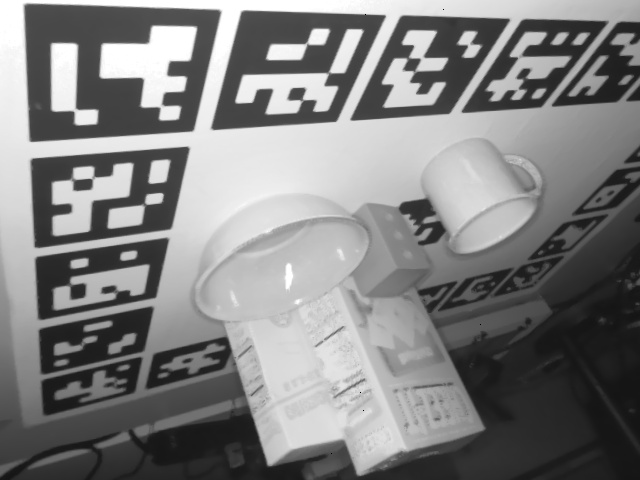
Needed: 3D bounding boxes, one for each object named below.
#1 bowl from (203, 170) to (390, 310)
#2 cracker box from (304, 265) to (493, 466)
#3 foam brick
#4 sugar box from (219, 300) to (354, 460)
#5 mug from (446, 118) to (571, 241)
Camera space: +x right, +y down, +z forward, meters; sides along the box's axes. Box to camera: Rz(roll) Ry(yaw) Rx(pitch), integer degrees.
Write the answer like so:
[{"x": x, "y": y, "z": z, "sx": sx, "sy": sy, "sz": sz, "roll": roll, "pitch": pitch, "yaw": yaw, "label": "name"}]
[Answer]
[{"x": -0.025, "y": -0.008, "z": 0.580, "sx": 0.163, "sy": 0.055, "sz": 0.160, "roll": -19, "pitch": 148, "yaw": -11, "label": "bowl"}, {"x": 0.076, "y": 0.113, "z": 0.709, "sx": 0.071, "sy": 0.214, "sz": 0.166, "roll": -36, "pitch": 147, "yaw": 24, "label": "cracker box"}, {"x": 0.071, "y": -0.003, "z": 0.666, "sx": 0.053, "sy": 0.078, "sz": 0.050, "roll": 6, "pitch": 139, "yaw": -42, "label": "foam brick"}, {"x": -0.031, "y": 0.118, "z": 0.670, "sx": 0.094, "sy": 0.176, "sz": 0.044, "roll": 11, "pitch": 135, "yaw": -46, "label": "sugar box"}, {"x": 0.177, "y": -0.059, "z": 0.637, "sx": 0.119, "sy": 0.081, "sz": 0.092, "roll": -13, "pitch": 156, "yaw": -23, "label": "mug"}]
